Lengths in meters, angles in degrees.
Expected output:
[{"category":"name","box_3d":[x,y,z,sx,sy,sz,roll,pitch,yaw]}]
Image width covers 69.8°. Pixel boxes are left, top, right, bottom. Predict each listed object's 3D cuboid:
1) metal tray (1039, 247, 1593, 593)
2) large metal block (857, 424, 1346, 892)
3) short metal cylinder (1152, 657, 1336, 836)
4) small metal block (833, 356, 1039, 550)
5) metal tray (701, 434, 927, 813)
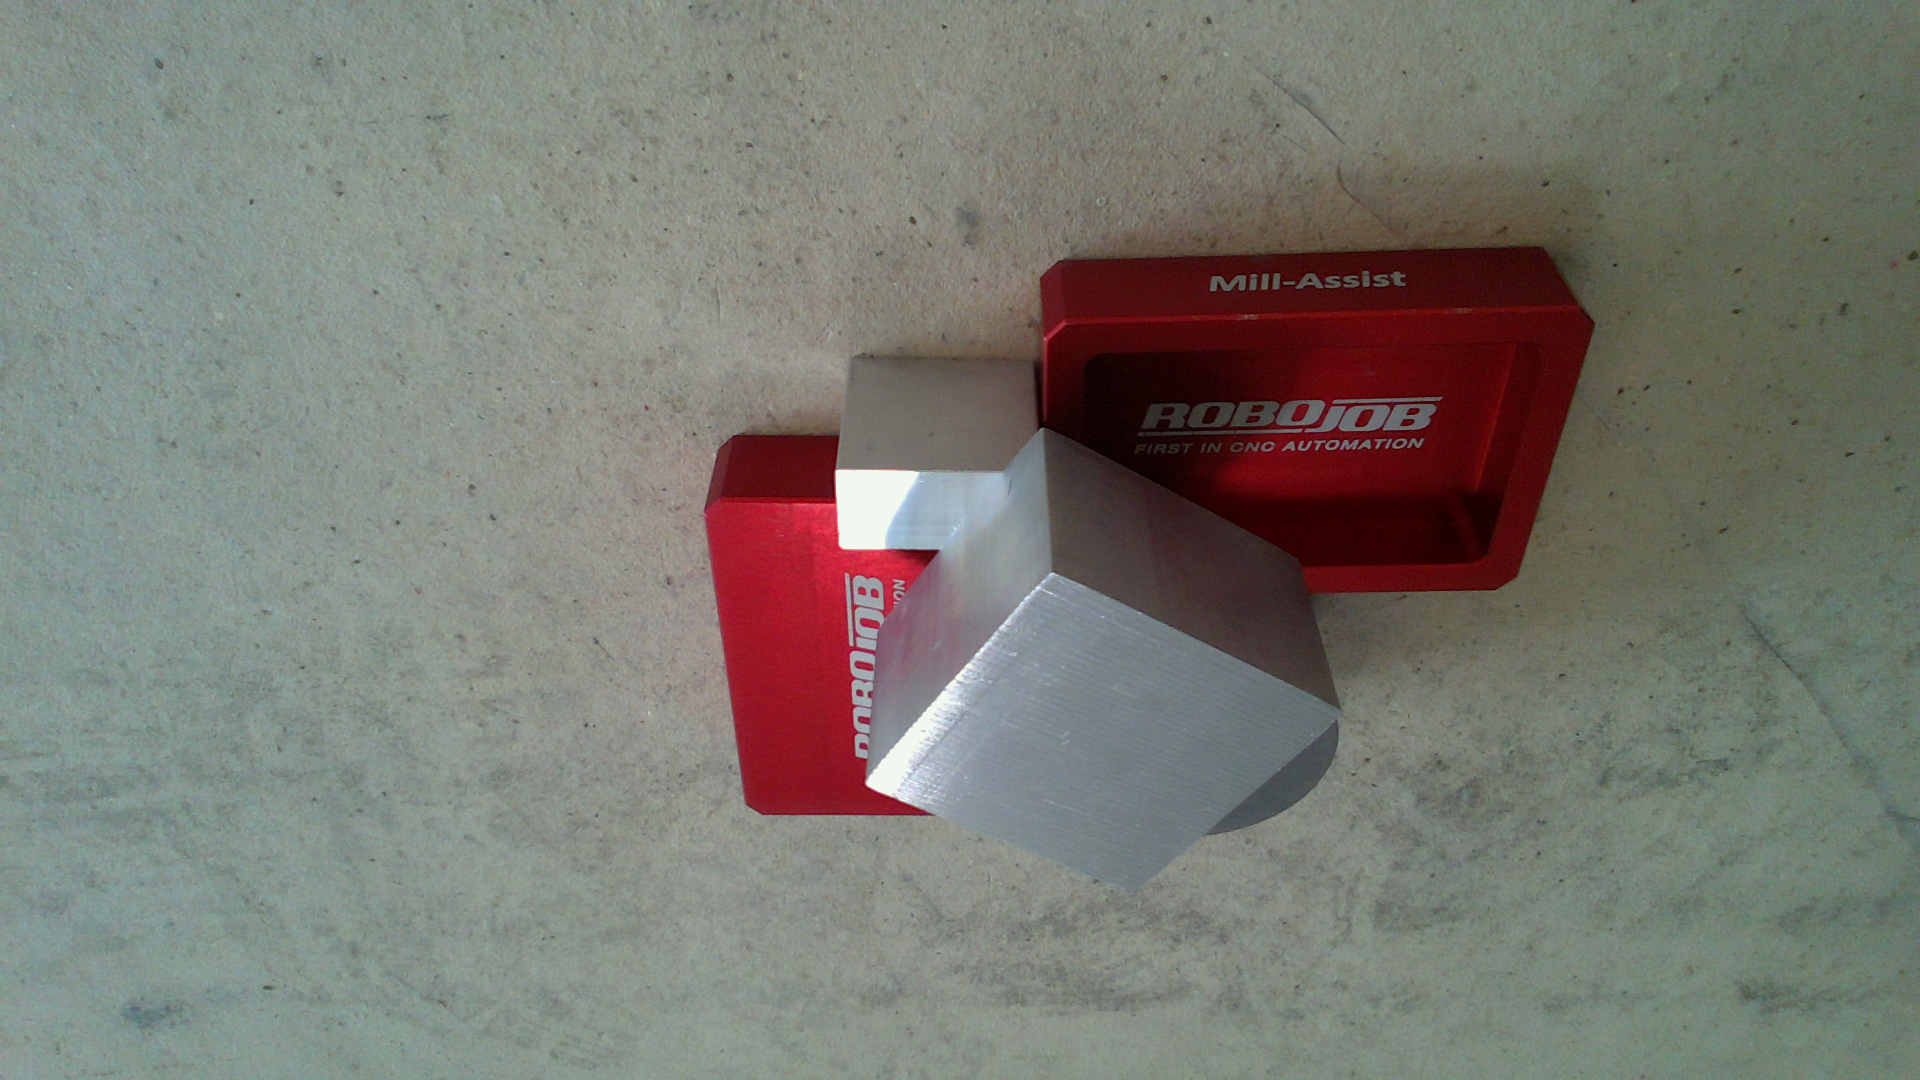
[{"category":"metal tray","box_3d":[0.086,-0.029,0.364,0.130,0.030,0.090,-1,130,1]},{"category":"large metal block","box_3d":[0.031,0.031,0.334,0.080,0.050,0.080,26,126,-20]},{"category":"short metal cylinder","box_3d":[0.067,0.044,0.411,0.080,0.050,0.080,0,130,0]},{"category":"small metal block","box_3d":[-0.005,-0.023,0.355,0.050,0.050,0.025,1,130,-1]},{"category":"metal tray","box_3d":[-0.024,0.030,0.413,0.090,0.030,0.130,0,130,0]}]
